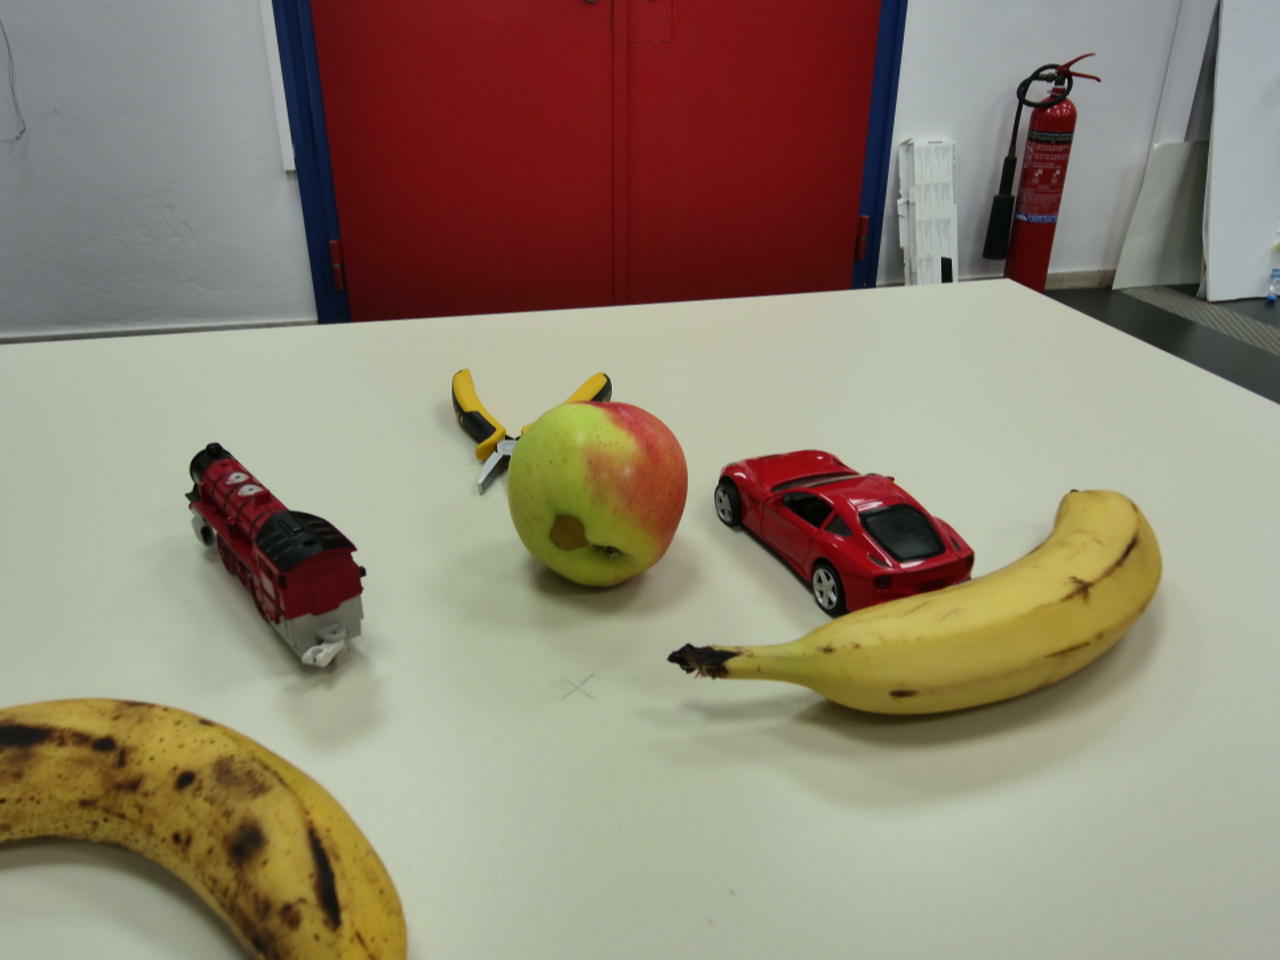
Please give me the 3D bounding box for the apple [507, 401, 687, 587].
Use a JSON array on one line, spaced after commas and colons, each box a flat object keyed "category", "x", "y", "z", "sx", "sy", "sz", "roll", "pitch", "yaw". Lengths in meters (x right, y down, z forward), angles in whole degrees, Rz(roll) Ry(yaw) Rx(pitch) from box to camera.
[{"category": "apple", "x": -0.016, "y": 0.004, "z": 0.408, "sx": 0.075, "sy": 0.074, "sz": 0.075, "roll": -14, "pitch": 28, "yaw": -30}]
